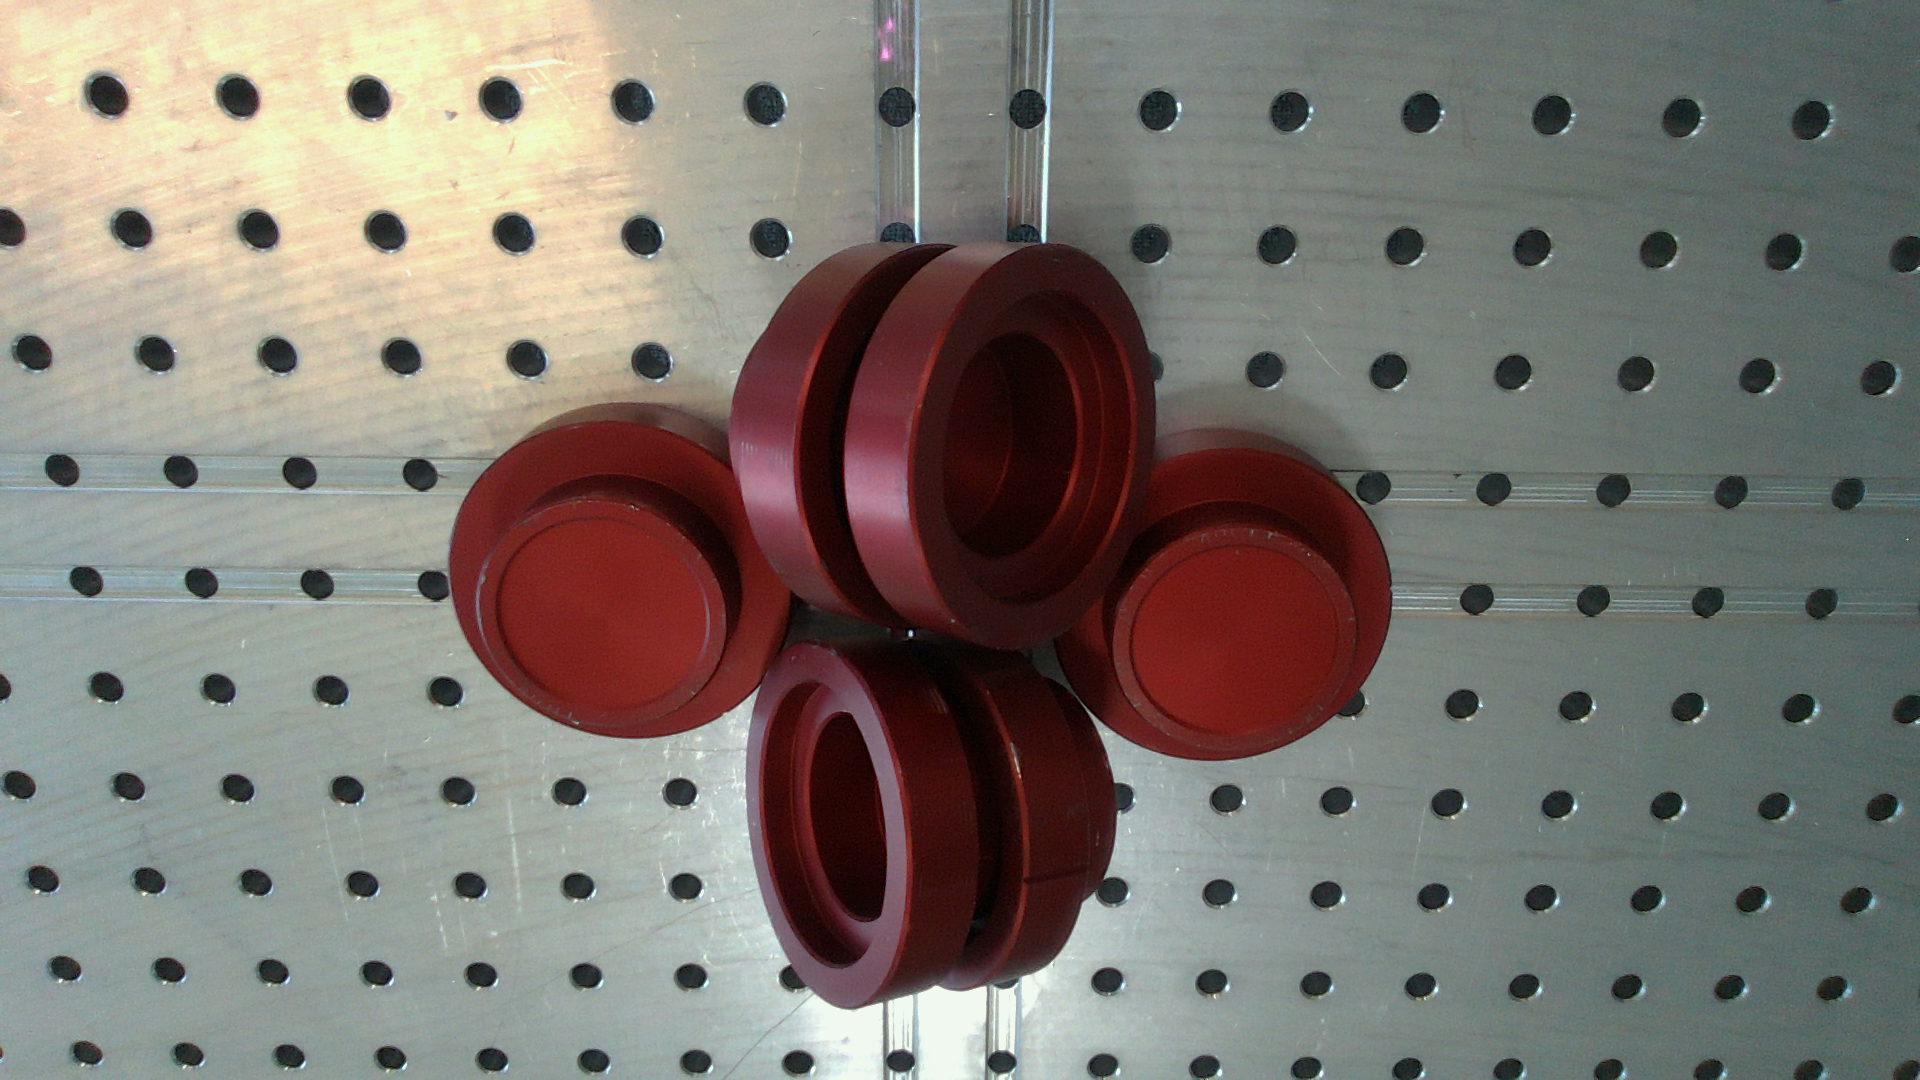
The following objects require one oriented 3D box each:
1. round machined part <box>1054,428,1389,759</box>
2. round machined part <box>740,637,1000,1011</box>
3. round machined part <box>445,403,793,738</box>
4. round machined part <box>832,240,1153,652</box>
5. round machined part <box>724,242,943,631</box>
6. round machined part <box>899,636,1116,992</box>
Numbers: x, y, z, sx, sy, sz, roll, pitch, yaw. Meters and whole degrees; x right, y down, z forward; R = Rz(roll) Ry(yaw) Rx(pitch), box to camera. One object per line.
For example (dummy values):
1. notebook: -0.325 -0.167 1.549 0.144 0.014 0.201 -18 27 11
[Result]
1. round machined part: 0.075 0.020 0.395 0.098 0.042 0.098 0 110 0
2. round machined part: -0.022 0.075 0.380 0.042 0.098 0.098 -3 114 -33
3. round machined part: -0.097 0.013 0.391 0.098 0.042 0.098 0 110 0
4. round machined part: 0.004 -0.024 0.341 0.042 0.098 0.098 11 116 39
5. round machined part: -0.022 -0.028 0.359 0.042 0.098 0.098 11 116 39
6. round machined part: 0.007 0.075 0.395 0.042 0.098 0.098 -3 114 -33
